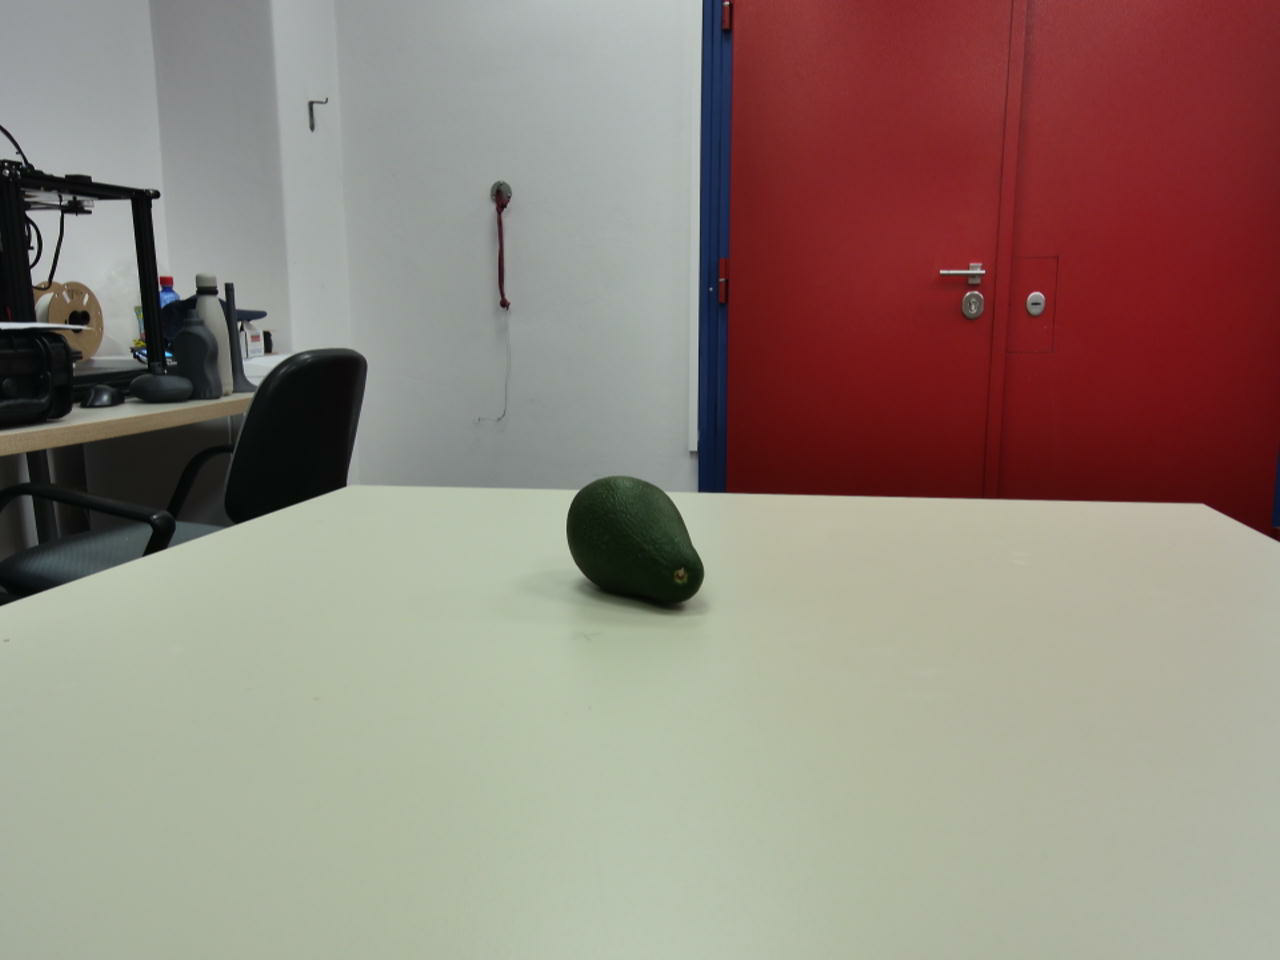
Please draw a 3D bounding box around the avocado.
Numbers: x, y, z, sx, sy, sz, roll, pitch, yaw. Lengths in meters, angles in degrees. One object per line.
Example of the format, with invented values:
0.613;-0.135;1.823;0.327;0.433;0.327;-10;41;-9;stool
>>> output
-0.006;0.034;0.604;0.072;0.071;0.109;-1;7;-11;avocado
